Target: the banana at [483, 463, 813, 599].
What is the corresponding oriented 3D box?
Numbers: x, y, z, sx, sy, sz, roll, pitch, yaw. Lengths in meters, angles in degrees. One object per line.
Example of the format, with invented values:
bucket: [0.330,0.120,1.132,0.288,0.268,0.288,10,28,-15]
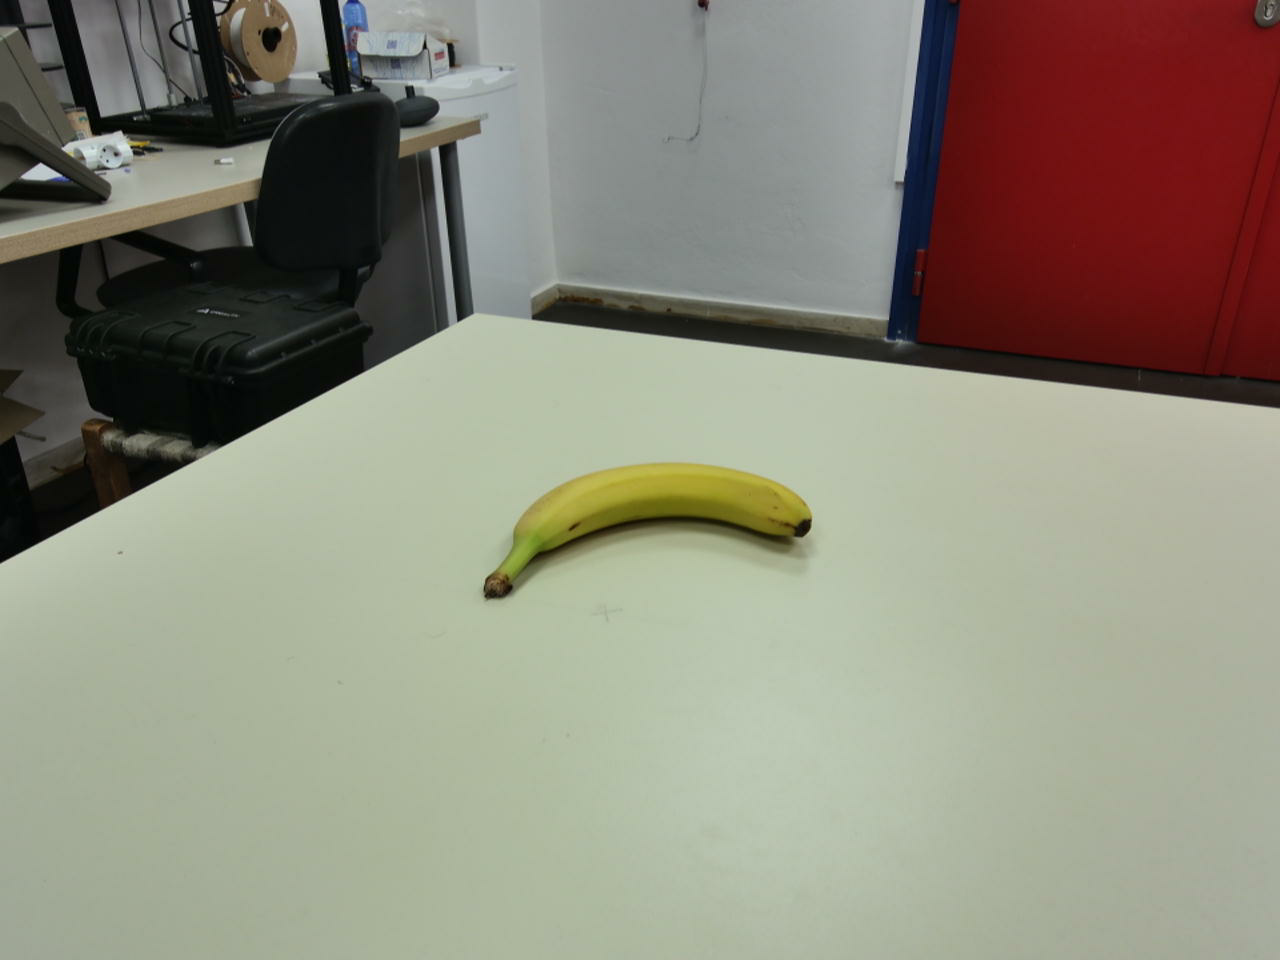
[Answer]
banana: [-0.001,0.021,0.609,0.196,0.041,0.094,-6,26,-10]
